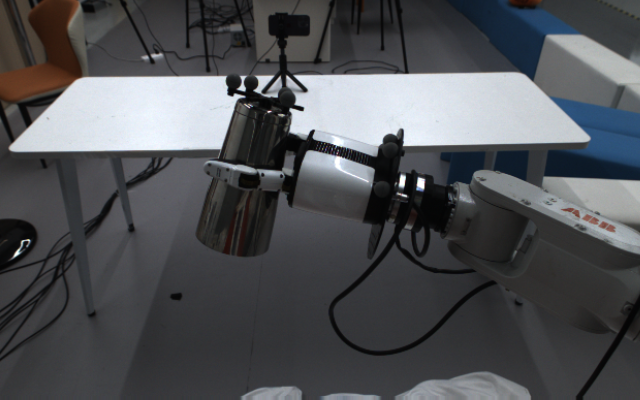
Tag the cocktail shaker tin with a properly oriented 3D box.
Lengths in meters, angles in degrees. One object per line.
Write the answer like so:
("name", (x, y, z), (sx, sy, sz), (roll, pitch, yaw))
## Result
("cocktail shaker tin", (-0.085, -0.029, 0.577), (0.093, 0.170, 0.093), (15, 17, -5))
